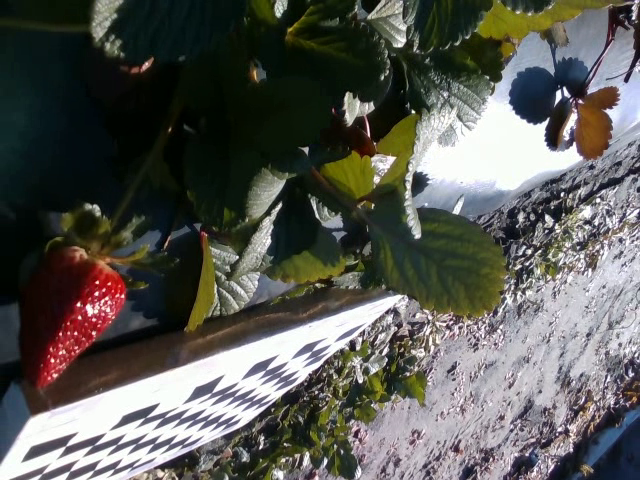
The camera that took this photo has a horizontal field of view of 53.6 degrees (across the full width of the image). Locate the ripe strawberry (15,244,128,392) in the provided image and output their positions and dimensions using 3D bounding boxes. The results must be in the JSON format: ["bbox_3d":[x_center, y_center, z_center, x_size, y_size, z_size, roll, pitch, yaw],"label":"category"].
[{"bbox_3d":[-0.102,0.029,0.241,0.058,0.062,0.066,-3,-15,6],"label":"ripe strawberry"}]
